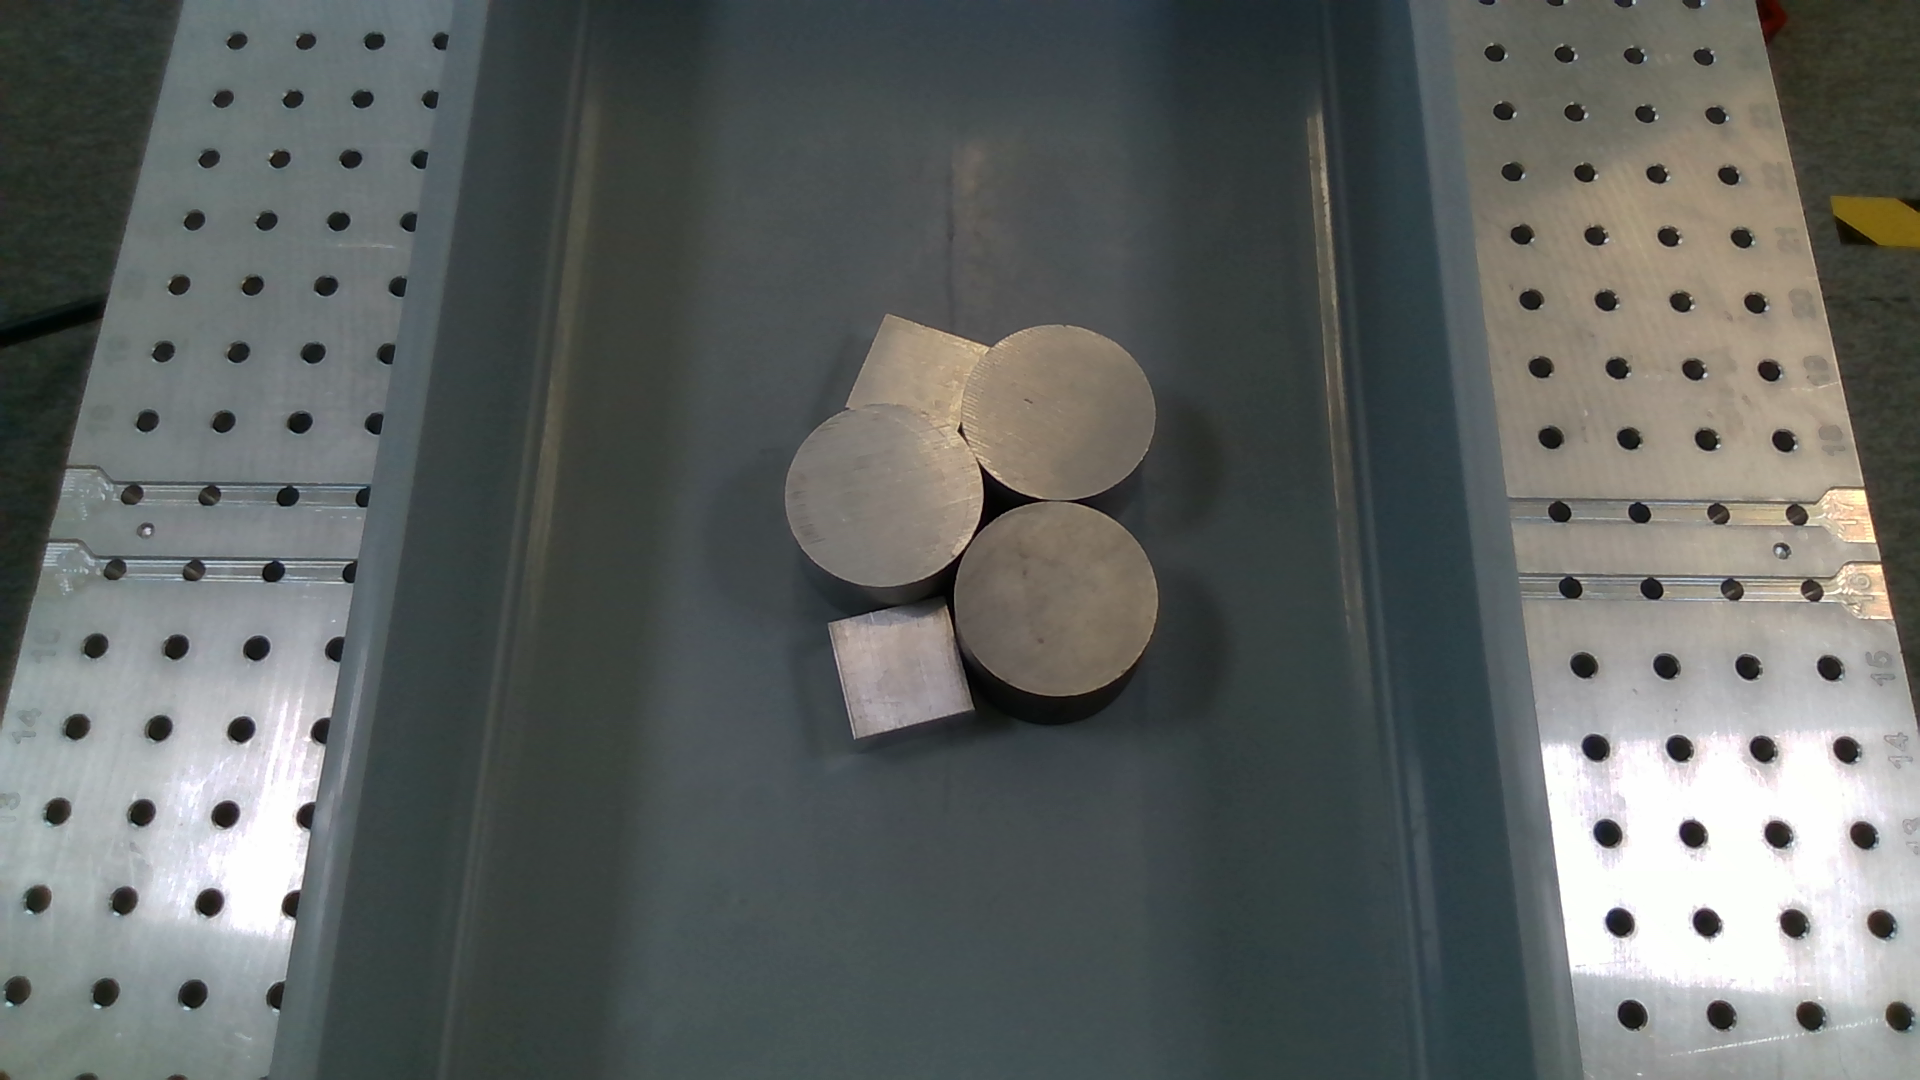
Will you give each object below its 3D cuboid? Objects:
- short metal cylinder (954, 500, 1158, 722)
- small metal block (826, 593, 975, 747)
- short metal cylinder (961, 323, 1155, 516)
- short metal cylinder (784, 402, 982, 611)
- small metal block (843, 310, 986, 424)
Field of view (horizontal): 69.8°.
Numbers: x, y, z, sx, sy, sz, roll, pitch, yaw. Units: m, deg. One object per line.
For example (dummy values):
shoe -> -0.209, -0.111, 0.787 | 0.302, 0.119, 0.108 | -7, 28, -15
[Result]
short metal cylinder -> 0.038, 0.030, 0.563 | 0.080, 0.050, 0.080 | 0, 70, 0
small metal block -> -0.024, 0.055, 0.568 | 0.050, 0.025, 0.050 | -13, 71, -5
short metal cylinder -> 0.040, -0.045, 0.590 | 0.080, 0.050, 0.080 | 0, 70, 0
short metal cylinder -> -0.031, -0.011, 0.578 | 0.080, 0.050, 0.080 | 0, 70, 0
small metal block -> -0.018, -0.067, 0.611 | 0.050, 0.025, 0.050 | 20, 72, 7
